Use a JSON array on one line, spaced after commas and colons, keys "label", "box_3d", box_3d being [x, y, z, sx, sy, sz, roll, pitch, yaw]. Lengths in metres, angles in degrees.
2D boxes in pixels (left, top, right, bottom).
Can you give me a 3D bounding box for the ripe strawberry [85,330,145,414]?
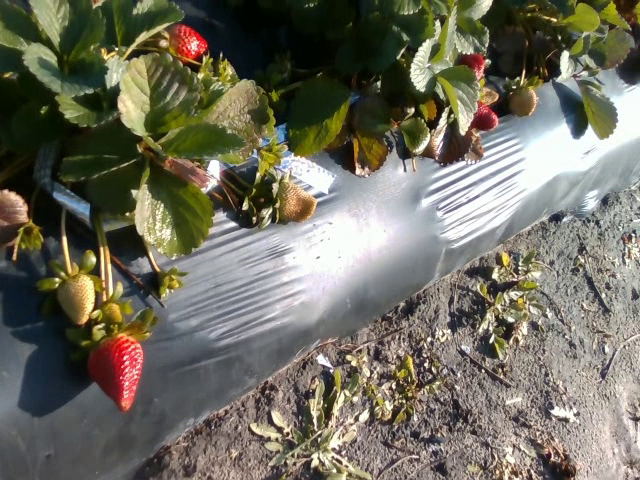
[{"label": "ripe strawberry", "box_3d": [-0.137, 0.092, 0.422, 0.042, 0.059, 0.042, -25, -17, 40]}]
